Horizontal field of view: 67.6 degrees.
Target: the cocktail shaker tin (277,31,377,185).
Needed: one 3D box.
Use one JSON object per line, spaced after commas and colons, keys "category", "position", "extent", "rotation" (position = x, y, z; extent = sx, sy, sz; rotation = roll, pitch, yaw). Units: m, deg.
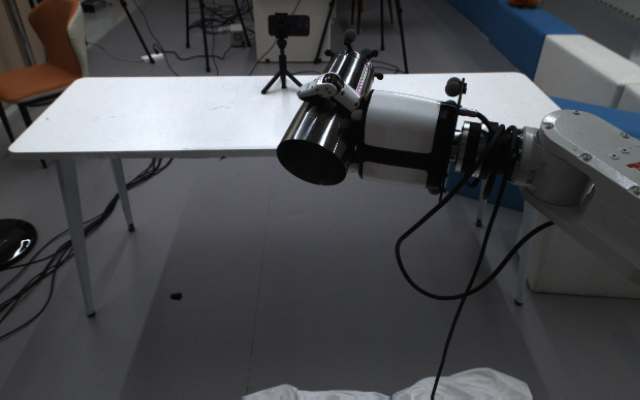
{"category": "cocktail shaker tin", "position": [0.015, -0.113, 0.632], "extent": [0.093, 0.093, 0.170], "rotation": [14, 61, 17]}
